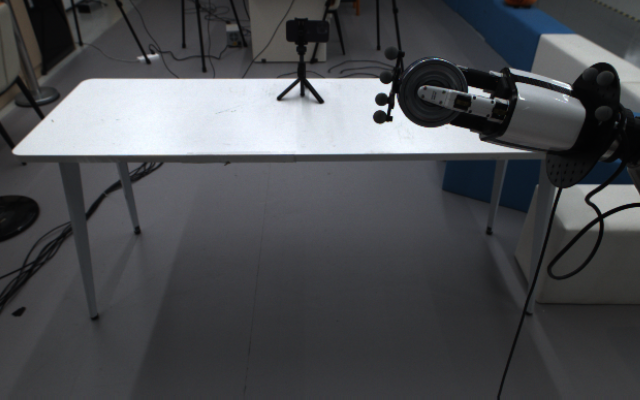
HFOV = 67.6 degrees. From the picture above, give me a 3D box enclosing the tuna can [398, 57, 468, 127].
[{"bbox_3d":[0.143,-0.141,0.608,0.085,0.085,0.034,5,17,4],"label":"tuna can"}]
